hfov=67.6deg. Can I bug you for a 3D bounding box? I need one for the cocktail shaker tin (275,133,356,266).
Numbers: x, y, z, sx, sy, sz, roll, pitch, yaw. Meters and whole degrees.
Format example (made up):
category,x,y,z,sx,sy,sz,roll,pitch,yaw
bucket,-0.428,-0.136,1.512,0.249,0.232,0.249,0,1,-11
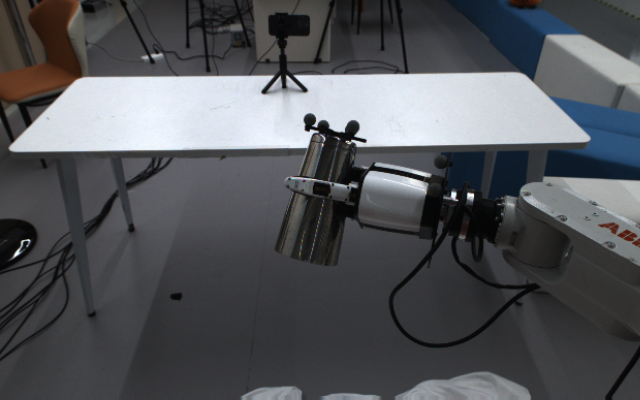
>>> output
category,x,y,z,sx,sy,sz,roll,pitch,yaw
cocktail shaker tin,-0.001,-0.003,0.680,0.093,0.170,0.093,14,2,0
